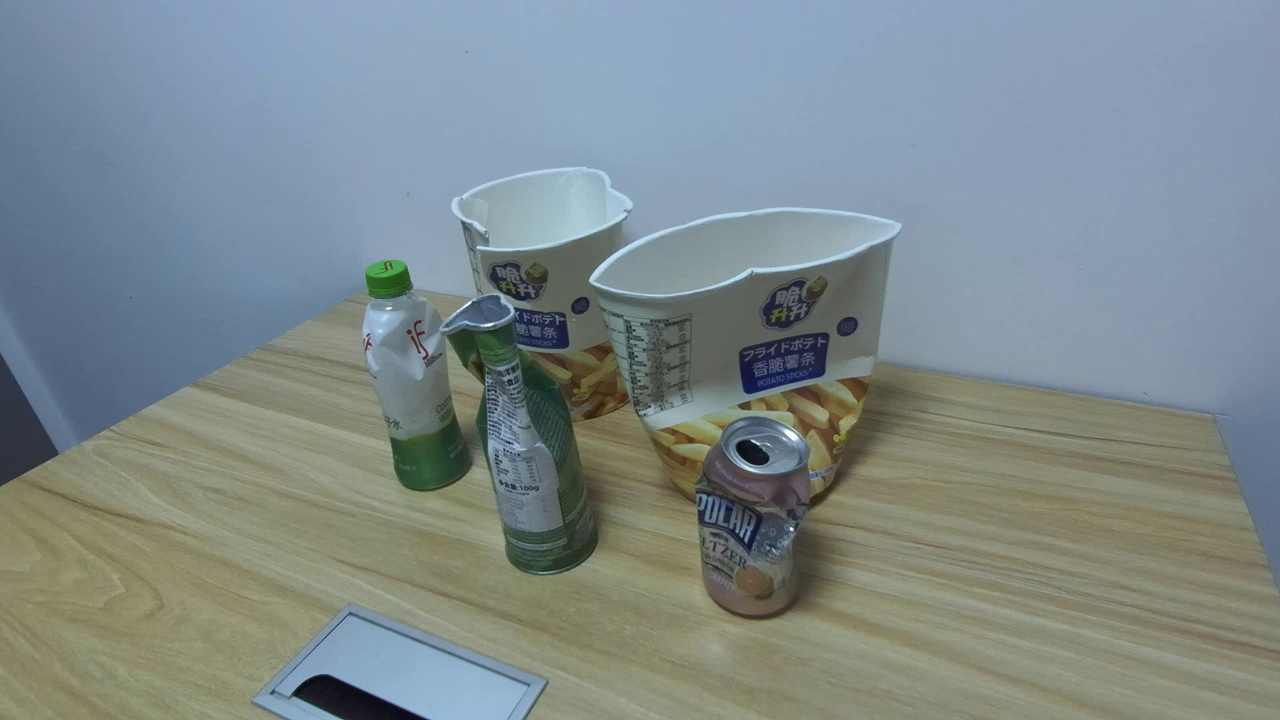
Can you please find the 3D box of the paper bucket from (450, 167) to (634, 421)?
[{"bbox_3d":[-0.077,-0.060,0.671,0.146,0.197,0.202,-16,32,-16],"label":"paper bucket"}]

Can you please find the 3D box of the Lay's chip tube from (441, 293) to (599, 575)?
[{"bbox_3d":[-0.083,0.051,0.484,0.071,0.200,0.079,-3,28,17],"label":"Lay's chip tube"}]

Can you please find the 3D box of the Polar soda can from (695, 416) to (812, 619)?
[{"bbox_3d":[0.077,0.101,0.450,0.067,0.122,0.070,-20,35,-34],"label":"Polar soda can"}]

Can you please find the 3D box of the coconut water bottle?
[{"bbox_3d":[-0.184,0.013,0.571,0.067,0.187,0.067,-3,29,2],"label":"coconut water bottle"}]

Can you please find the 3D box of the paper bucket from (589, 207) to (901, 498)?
[{"bbox_3d":[0.088,-0.002,0.543,0.147,0.199,0.218,19,38,33],"label":"paper bucket"}]
